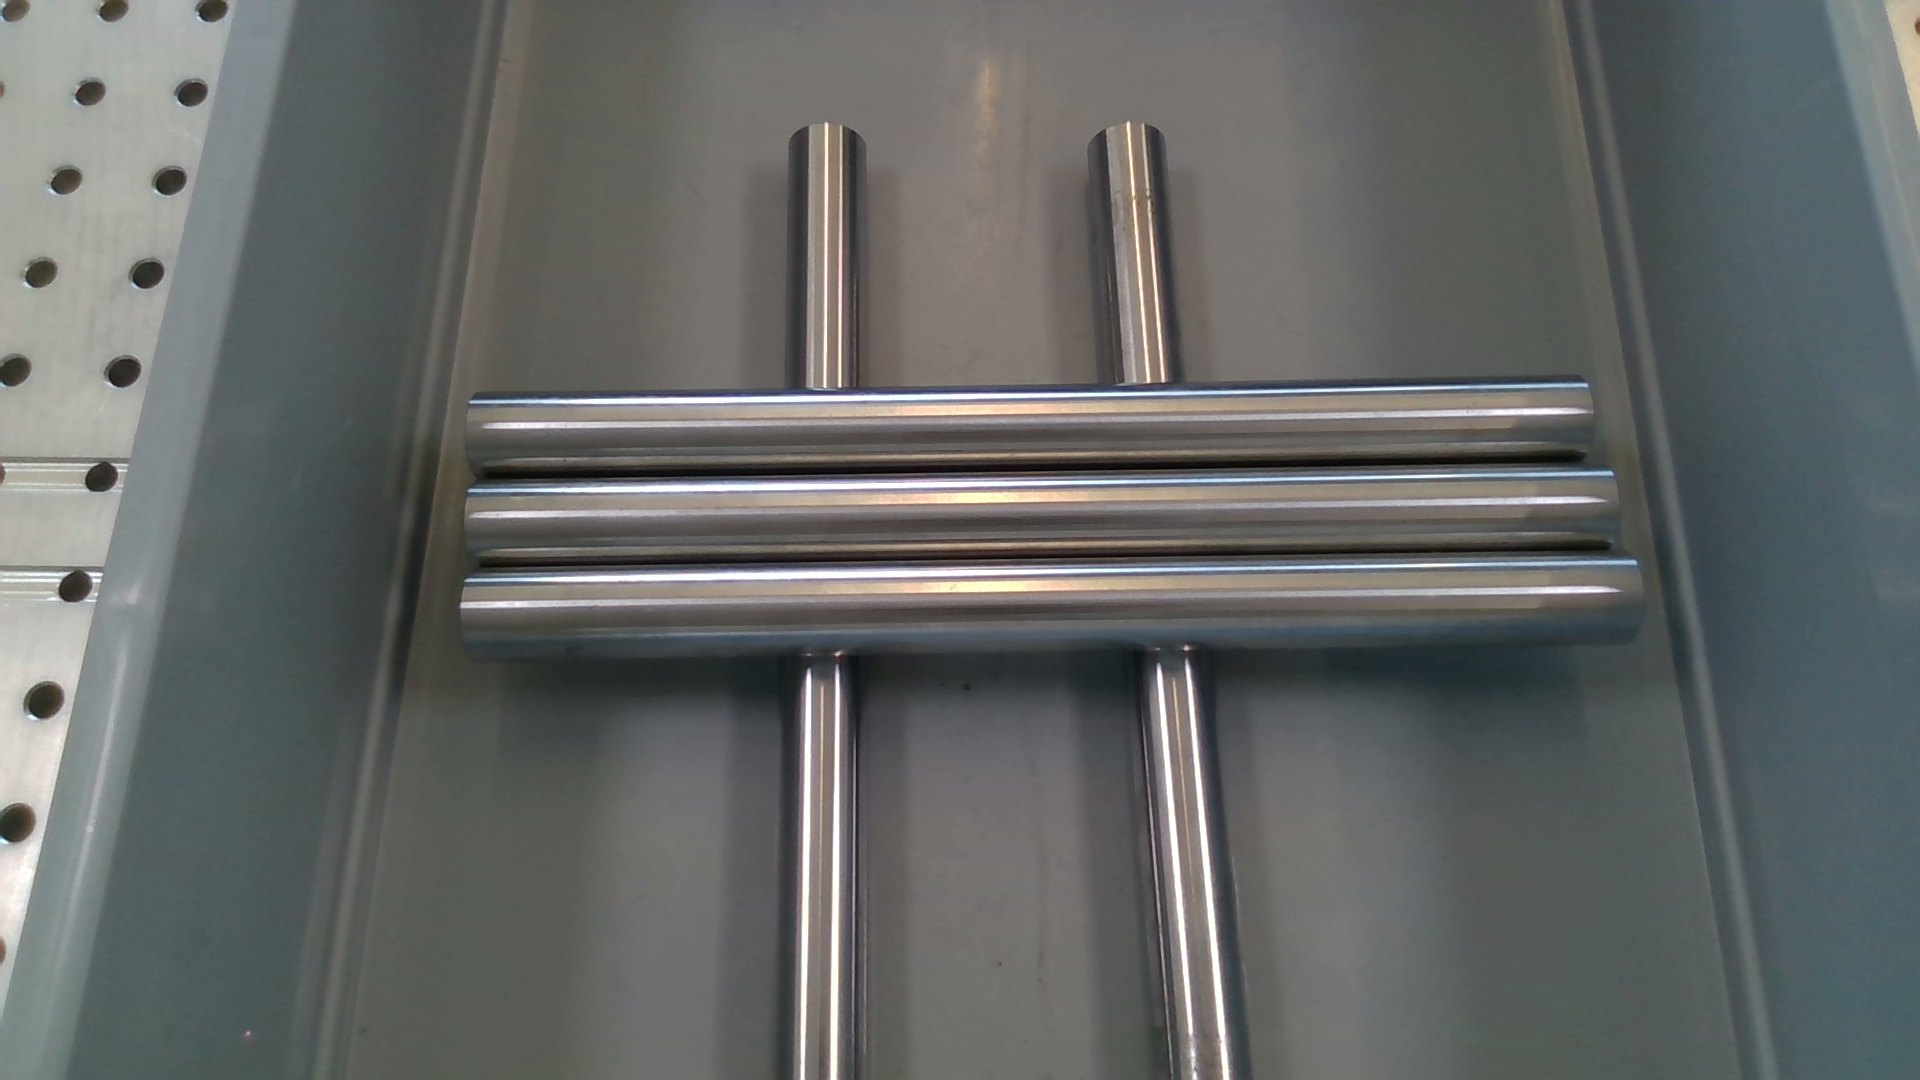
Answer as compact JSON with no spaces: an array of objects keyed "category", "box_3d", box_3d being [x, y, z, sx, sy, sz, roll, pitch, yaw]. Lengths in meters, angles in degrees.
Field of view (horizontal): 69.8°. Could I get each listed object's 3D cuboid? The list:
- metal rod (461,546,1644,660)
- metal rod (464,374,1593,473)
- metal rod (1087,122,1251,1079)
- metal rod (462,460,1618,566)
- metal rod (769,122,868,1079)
[{"category":"metal rod","box_3d":[0.024,0.016,0.361,0.300,0.025,0.025,-1,70,0]},{"category":"metal rod","box_3d":[0.018,-0.031,0.378,0.300,0.025,0.025,-1,70,0]},{"category":"metal rod","box_3d":[0.057,0.015,0.390,0.025,0.025,0.299,-2,70,0]},{"category":"metal rod","box_3d":[0.021,-0.007,0.369,0.300,0.025,0.025,-1,70,0]},{"category":"metal rod","box_3d":[-0.039,0.015,0.390,0.025,0.025,0.299,-1,70,0]}]
